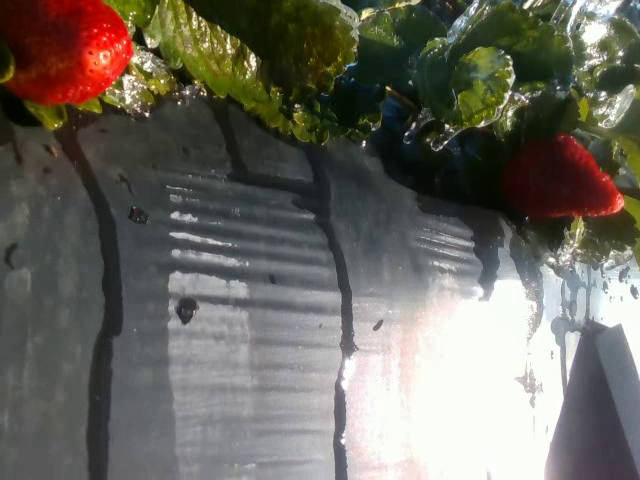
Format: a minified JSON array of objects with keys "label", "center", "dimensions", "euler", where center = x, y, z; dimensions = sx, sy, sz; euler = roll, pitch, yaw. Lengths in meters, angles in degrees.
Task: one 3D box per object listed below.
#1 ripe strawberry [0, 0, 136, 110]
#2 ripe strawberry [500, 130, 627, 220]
[{"label":"ripe strawberry","center":[-0.067,-0.053,0.159],"dimensions":[0.037,0.040,0.051],"euler":[1,12,-31]},{"label":"ripe strawberry","center":[0.105,-0.023,0.249],"dimensions":[0.041,0.047,0.052],"euler":[9,18,-28]}]
